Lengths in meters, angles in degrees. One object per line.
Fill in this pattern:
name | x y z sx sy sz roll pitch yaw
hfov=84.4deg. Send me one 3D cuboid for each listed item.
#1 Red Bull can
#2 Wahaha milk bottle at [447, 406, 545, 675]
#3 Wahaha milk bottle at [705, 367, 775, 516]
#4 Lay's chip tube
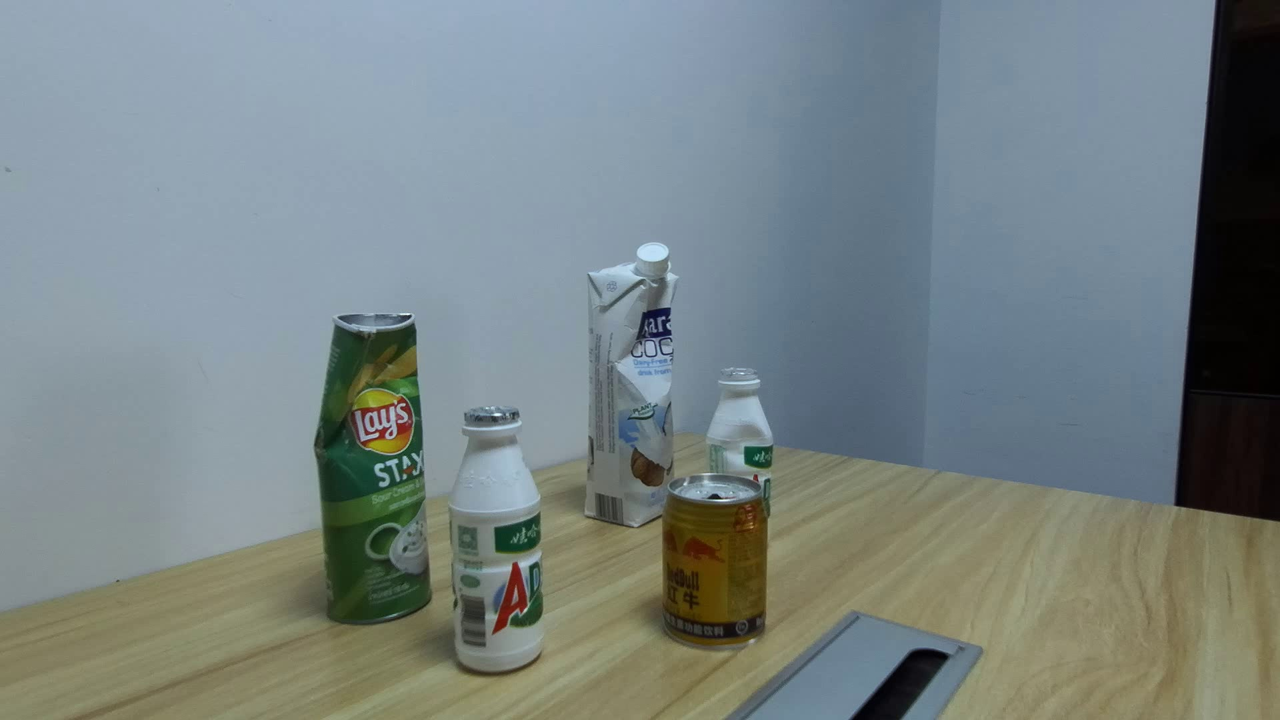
Red Bull can | 0.048 0.124 0.447 0.067 0.093 0.067 1 7 0
Wahaha milk bottle | -0.083 0.103 0.411 0.053 0.147 0.053 -1 6 0
Wahaha milk bottle | 0.082 0.081 0.578 0.055 0.149 0.055 1 9 0
Lay's chip tube | -0.181 0.071 0.481 0.069 0.201 0.077 -3 8 -22
